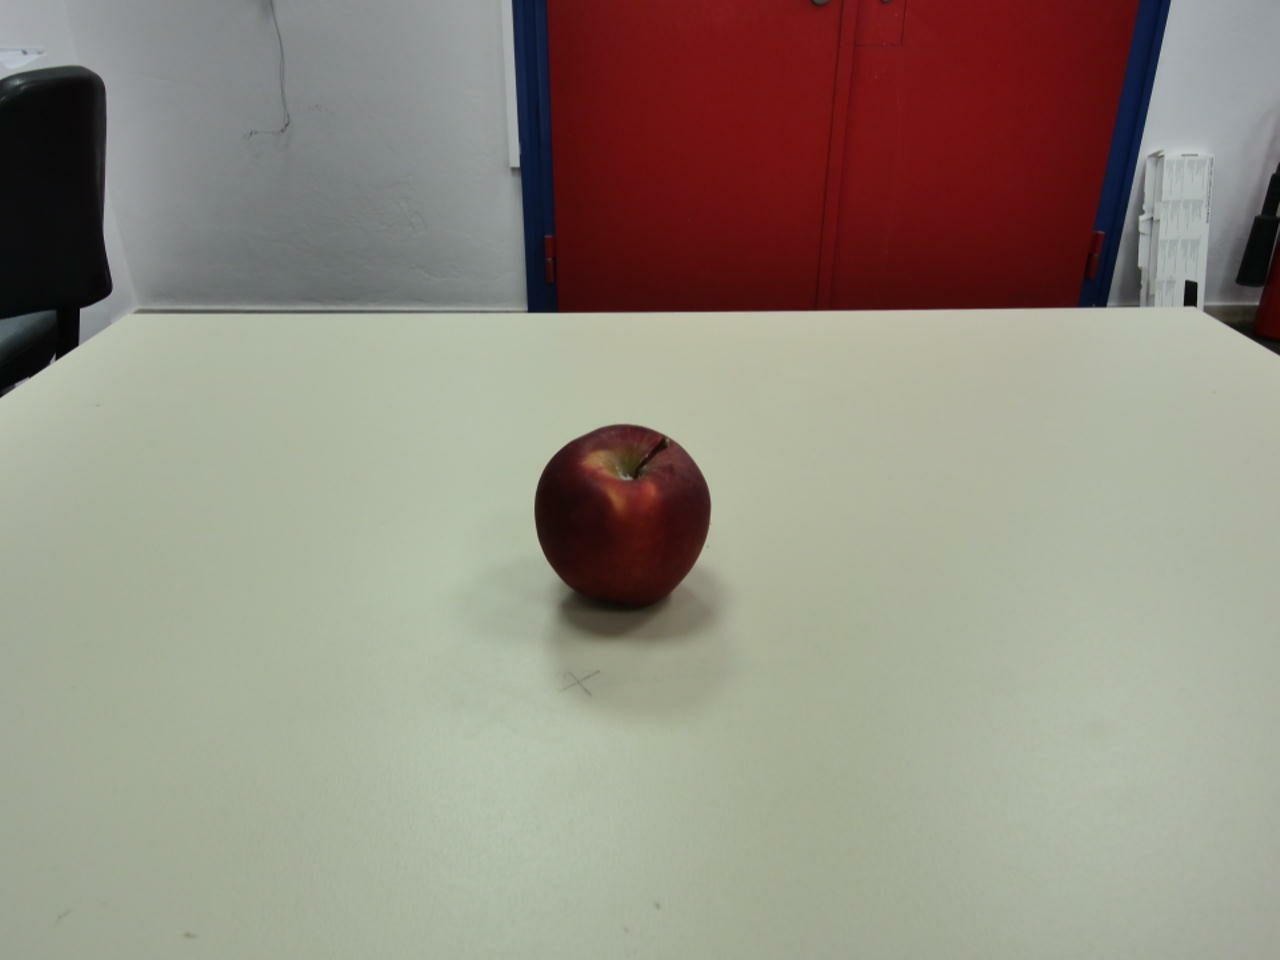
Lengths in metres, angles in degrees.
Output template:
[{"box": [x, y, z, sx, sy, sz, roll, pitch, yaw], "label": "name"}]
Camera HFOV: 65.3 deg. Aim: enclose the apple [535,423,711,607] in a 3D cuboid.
[{"box": [-0.007, 0.014, 0.392, 0.070, 0.072, 0.070, 1, 24, 0], "label": "apple"}]
